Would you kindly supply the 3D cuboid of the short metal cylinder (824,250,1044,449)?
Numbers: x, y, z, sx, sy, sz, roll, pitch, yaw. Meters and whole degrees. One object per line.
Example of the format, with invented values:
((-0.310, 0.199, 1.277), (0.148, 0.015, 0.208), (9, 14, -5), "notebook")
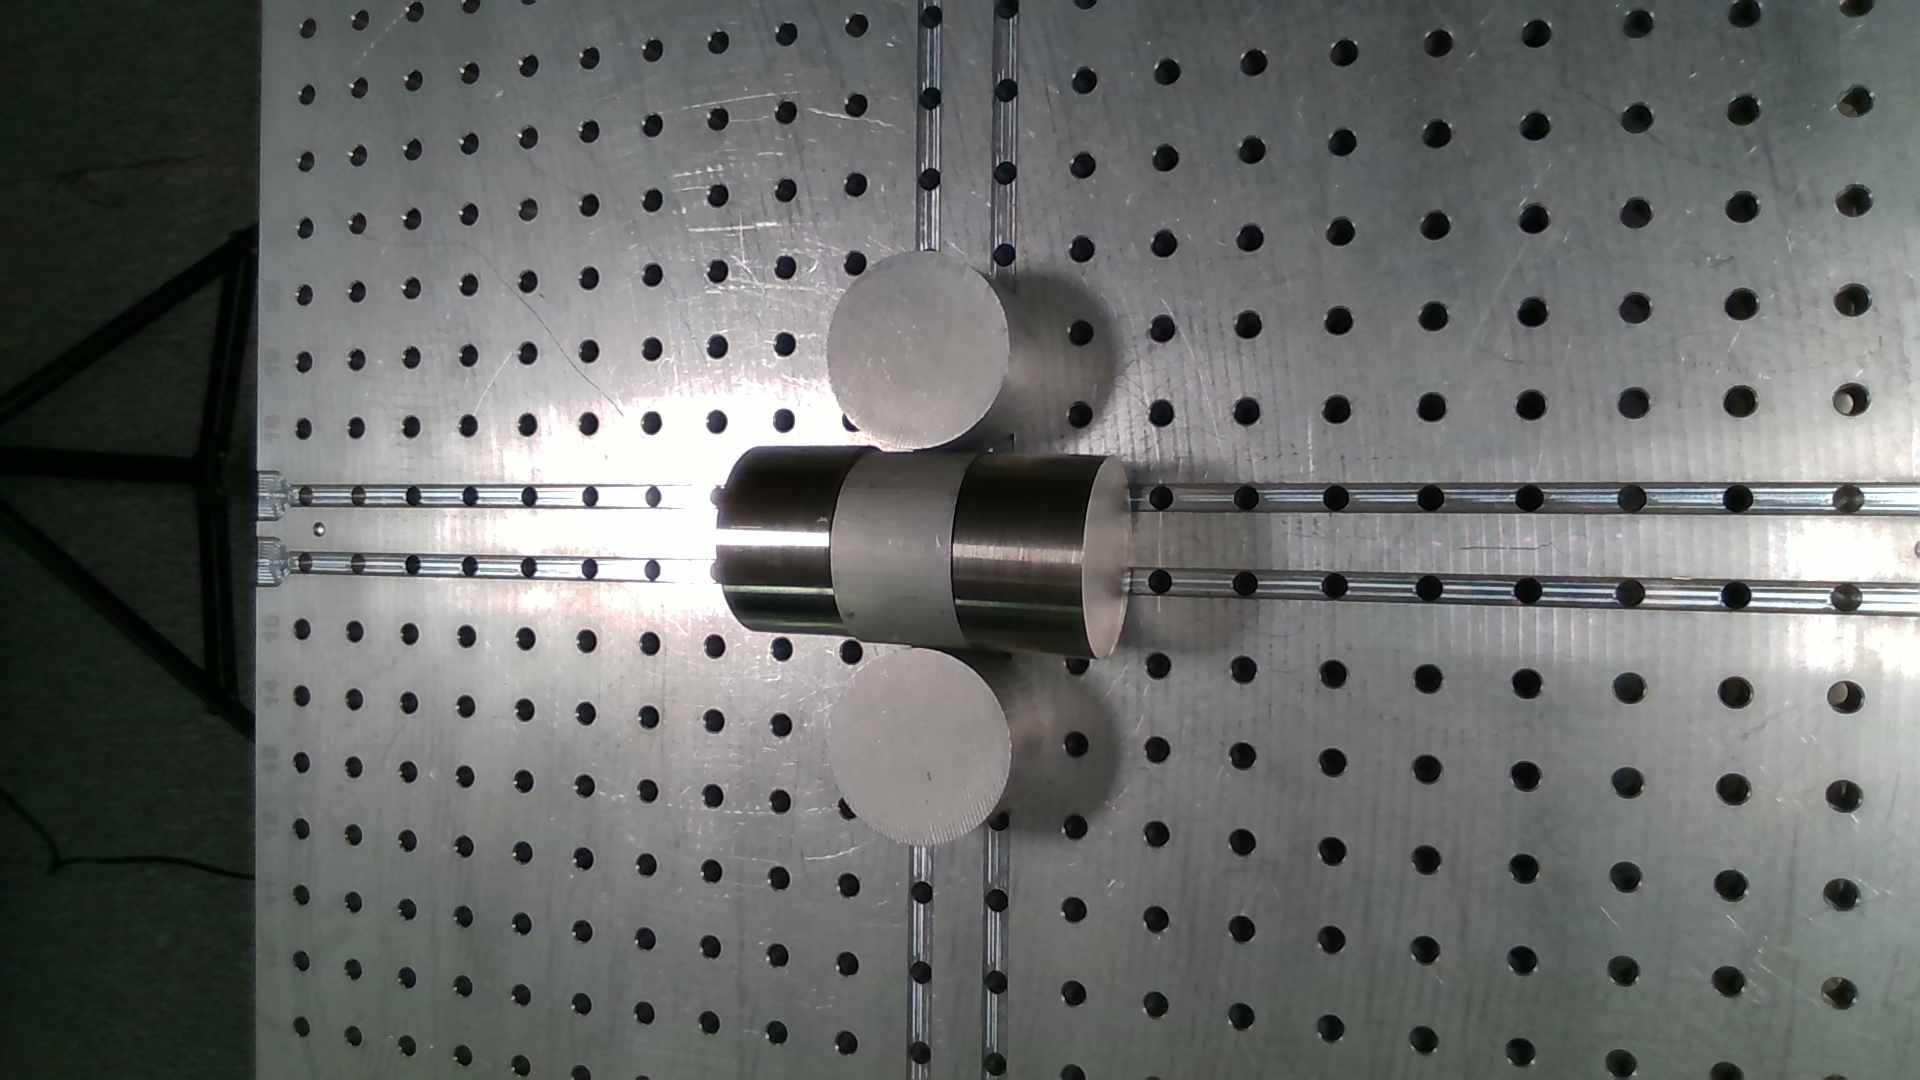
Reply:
((-0.010, -0.077, 0.577), (0.080, 0.050, 0.080), (0, 90, 20), "short metal cylinder")

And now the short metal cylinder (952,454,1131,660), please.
((0.035, 0.006, 0.545), (0.050, 0.080, 0.080), (3, 91, 20), "short metal cylinder")

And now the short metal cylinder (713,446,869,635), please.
((-0.062, 0.000, 0.581), (0.050, 0.080, 0.080), (1, 91, 20), "short metal cylinder")

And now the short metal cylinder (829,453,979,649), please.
((-0.014, 0.004, 0.563), (0.050, 0.080, 0.080), (2, 91, 20), "short metal cylinder")

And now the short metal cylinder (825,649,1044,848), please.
((-0.009, 0.084, 0.578), (0.080, 0.050, 0.080), (0, 90, 20), "short metal cylinder")
